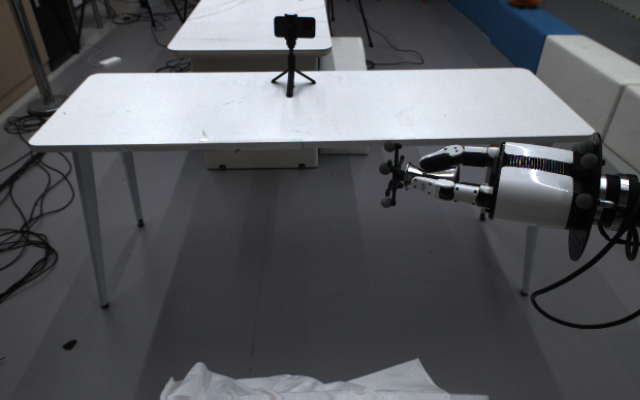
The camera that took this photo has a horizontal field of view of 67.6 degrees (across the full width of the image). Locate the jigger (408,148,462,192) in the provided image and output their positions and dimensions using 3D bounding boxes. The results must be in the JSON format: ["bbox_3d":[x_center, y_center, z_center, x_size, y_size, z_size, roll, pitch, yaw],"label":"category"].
[{"bbox_3d":[0.159,-0.033,0.662,0.071,0.043,0.043,7,34,21],"label":"jigger"}]
